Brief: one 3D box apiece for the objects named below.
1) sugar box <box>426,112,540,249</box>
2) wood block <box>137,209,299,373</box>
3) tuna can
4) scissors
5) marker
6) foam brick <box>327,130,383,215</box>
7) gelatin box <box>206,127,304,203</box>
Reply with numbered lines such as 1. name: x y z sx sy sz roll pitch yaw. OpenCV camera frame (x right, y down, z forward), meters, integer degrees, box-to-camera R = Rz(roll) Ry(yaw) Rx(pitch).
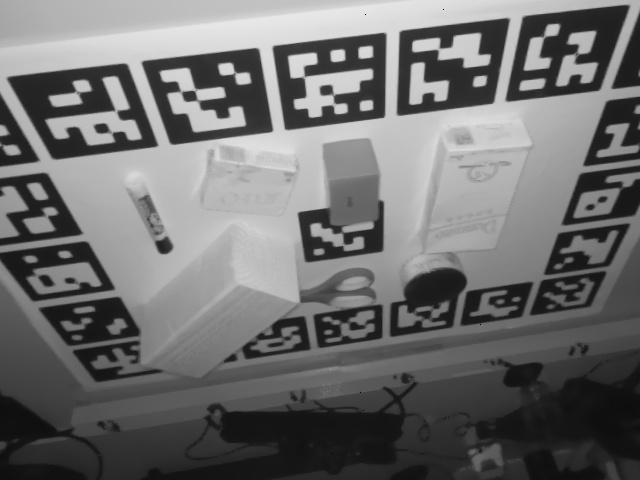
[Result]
1. sugar box: 0.178 -0.062 0.785 0.093 0.045 0.174 -4 138 -6
2. wood block: -0.128 0.066 0.836 0.091 0.091 0.203 26 128 -35
3. tuna can: 0.161 0.050 0.911 0.086 0.034 0.085 -6 138 -5
4. scissors: -0.012 0.068 0.913 0.204 0.016 0.086 -4 138 -11
5. marker: -0.176 -0.040 0.753 0.020 0.020 0.120 -6 137 -4
6. foam brick: 0.036 -0.072 0.732 0.053 0.051 0.077 -6 138 -4
7. gelatin box: -0.069 -0.077 0.728 0.090 0.030 0.072 5 136 -18
